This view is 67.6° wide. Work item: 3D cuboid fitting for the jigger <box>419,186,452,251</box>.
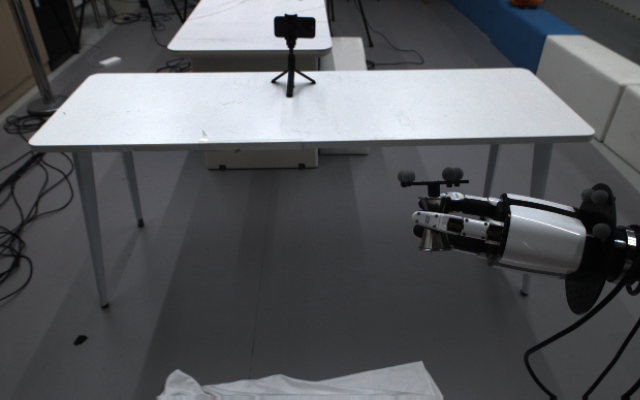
[{"bbox_3d":[0.146,0.029,0.622,0.043,0.071,0.043,-2,3,0],"label":"jigger"}]
